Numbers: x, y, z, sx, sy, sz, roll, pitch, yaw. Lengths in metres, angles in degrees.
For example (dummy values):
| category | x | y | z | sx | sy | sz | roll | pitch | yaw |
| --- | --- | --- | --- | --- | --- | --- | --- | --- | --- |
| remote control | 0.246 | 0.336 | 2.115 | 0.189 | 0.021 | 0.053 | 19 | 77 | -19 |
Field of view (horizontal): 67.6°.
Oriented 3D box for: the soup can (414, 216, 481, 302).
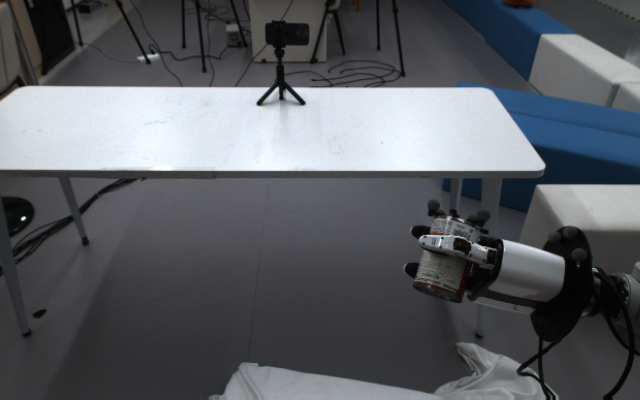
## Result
| category | x | y | z | sx | sy | sz | roll | pitch | yaw |
| --- | --- | --- | --- | --- | --- | --- | --- | --- | --- |
| soup can | 0.174 | 0.079 | 0.661 | 0.067 | 0.067 | 0.101 | 15 | 76 | 18 |
